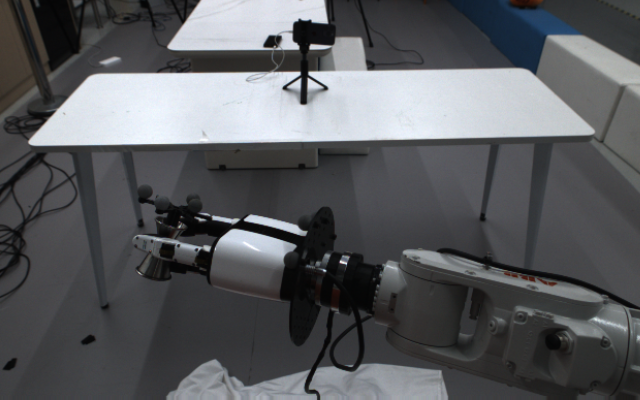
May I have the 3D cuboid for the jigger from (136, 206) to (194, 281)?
[{"bbox_3d":[-0.191,0.058,0.585,0.043,0.071,0.043,21,6,-2],"label":"jigger"}]
